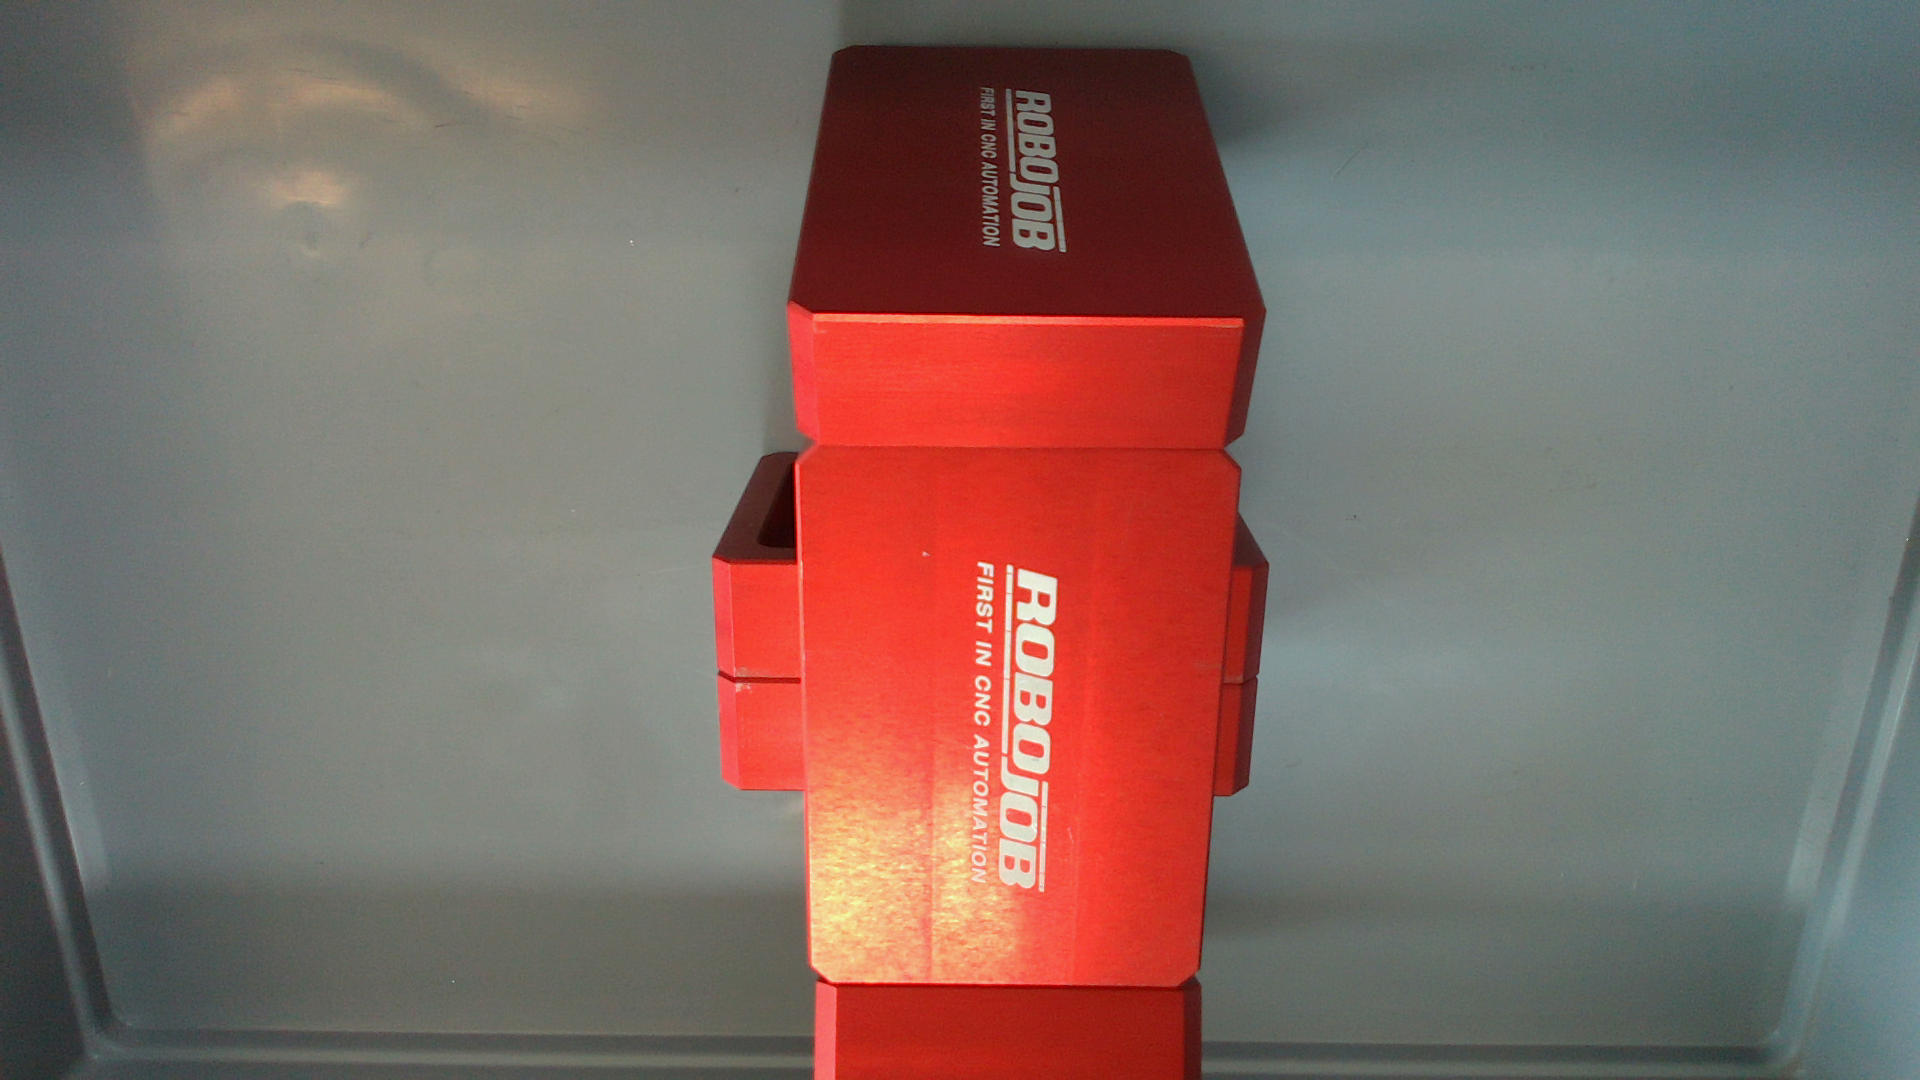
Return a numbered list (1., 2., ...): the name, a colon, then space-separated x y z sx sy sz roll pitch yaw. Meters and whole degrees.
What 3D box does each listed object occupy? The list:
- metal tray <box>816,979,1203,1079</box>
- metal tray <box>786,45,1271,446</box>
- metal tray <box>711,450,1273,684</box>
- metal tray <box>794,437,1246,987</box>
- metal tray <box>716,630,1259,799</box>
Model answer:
1. metal tray: 0.011 0.120 0.380 0.090 0.130 0.030 0 88 -1
2. metal tray: 0.013 -0.072 0.310 0.090 0.130 0.030 1 131 0
3. metal tray: 0.007 0.004 0.360 0.130 0.090 0.030 1 110 0
4. metal tray: 0.011 0.037 0.308 0.090 0.030 0.130 0 110 -1
5. metal tray: 0.007 0.033 0.371 0.130 0.090 0.030 1 110 0
